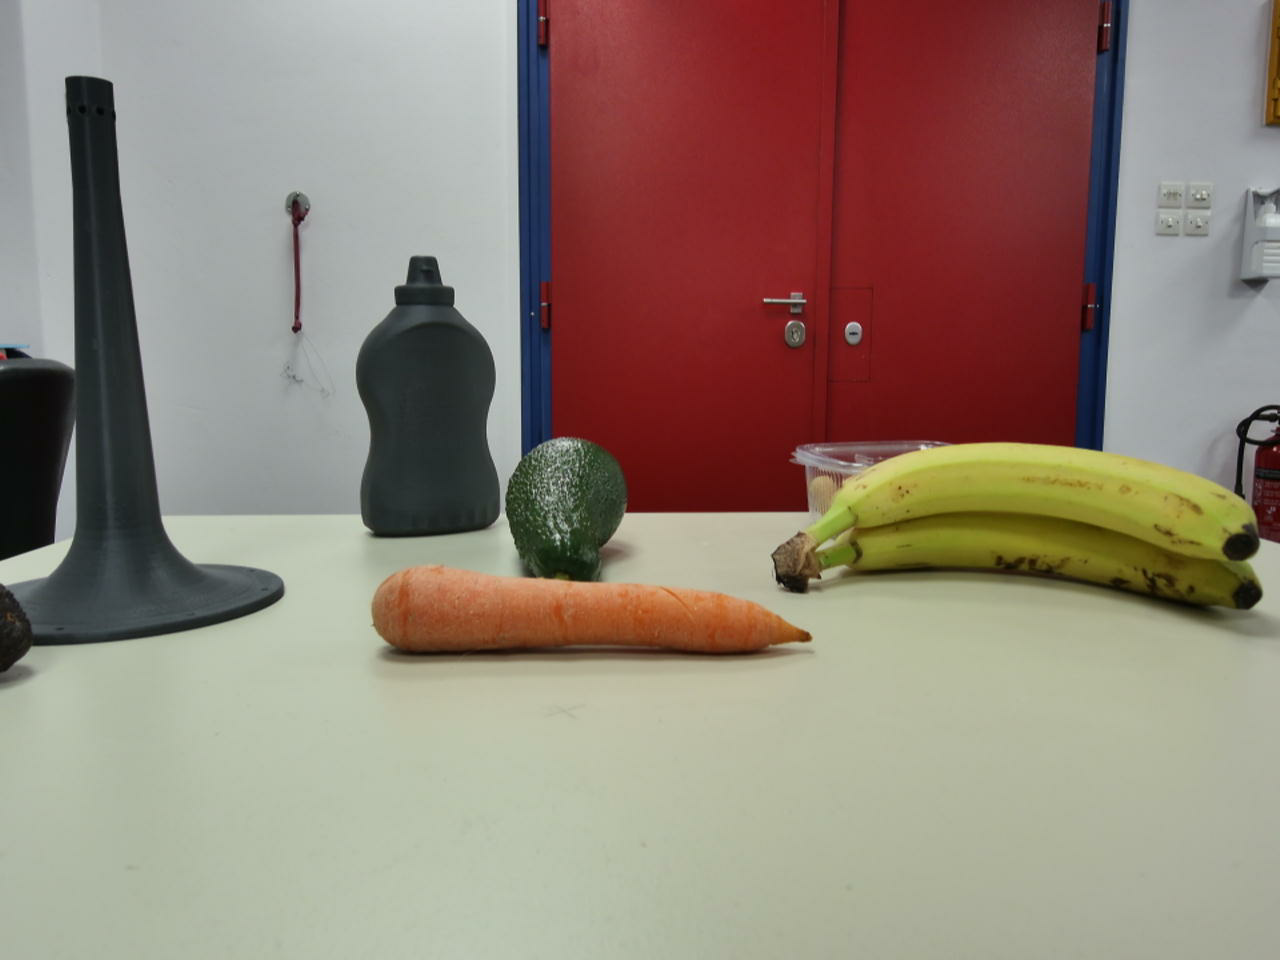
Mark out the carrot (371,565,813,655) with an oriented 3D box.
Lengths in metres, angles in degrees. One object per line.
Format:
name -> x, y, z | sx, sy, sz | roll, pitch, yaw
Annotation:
carrot -> -0.021, 0.058, 0.450 | 0.196, 0.041, 0.039 | -1, 5, -1
